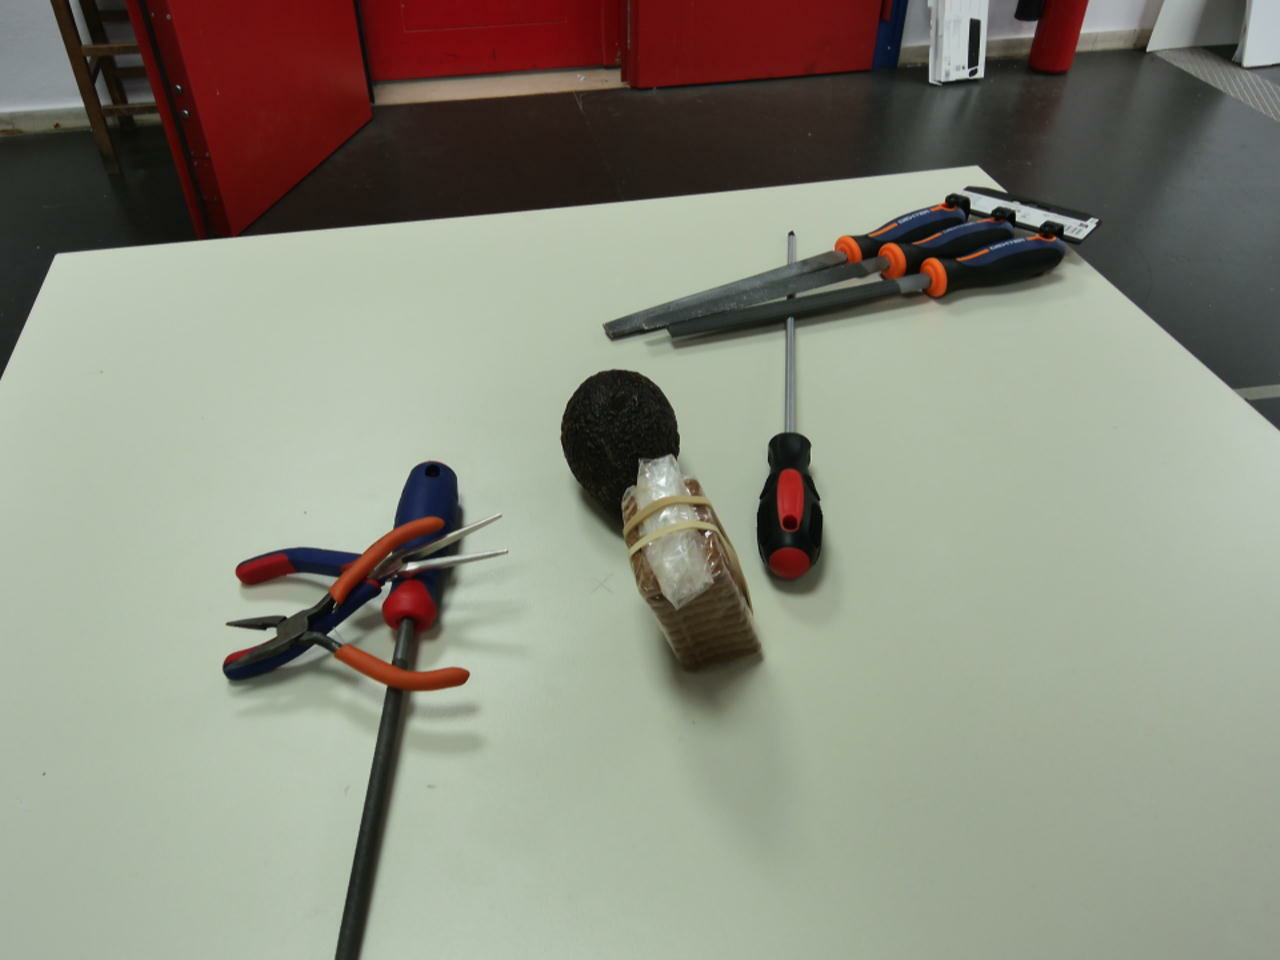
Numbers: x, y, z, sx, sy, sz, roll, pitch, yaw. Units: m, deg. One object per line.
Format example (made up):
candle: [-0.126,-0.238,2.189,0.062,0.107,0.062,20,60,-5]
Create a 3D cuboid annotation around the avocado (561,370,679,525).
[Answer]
avocado: [-0.013,-0.023,0.577,0.070,0.069,0.090,7,40,10]
